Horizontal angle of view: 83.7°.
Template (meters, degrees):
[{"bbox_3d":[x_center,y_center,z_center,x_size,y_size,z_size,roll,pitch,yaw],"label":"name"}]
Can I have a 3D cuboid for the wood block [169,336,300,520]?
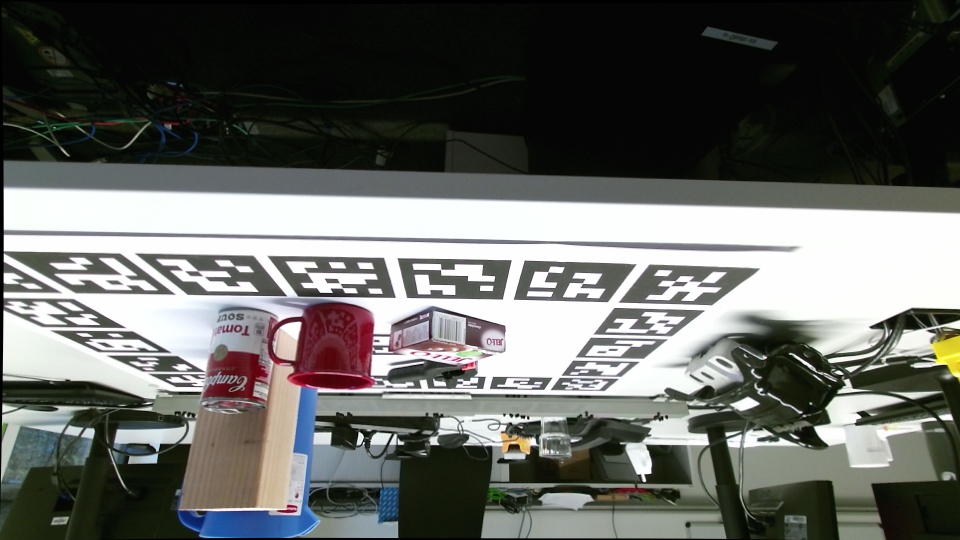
[{"bbox_3d":[-0.286,0.190,0.653,0.090,0.205,0.091,2,154,1],"label":"wood block"}]

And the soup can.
[{"bbox_3d":[-0.265,0.104,0.595,0.068,0.101,0.068,-1,152,-1],"label":"soup can"}]

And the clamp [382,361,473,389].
[{"bbox_3d":[-0.061,0.152,0.795,0.122,0.036,0.165,21,147,-25],"label":"clamp"}]

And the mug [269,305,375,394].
[{"bbox_3d":[-0.170,0.086,0.588,0.118,0.081,0.093,18,151,-36],"label":"mug"}]

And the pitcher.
[{"bbox_3d":[-0.317,0.256,0.754,0.189,0.241,0.133,-2,157,-4],"label":"pitcher"}]

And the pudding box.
[{"bbox_3d":[-0.031,0.087,0.649,0.114,0.038,0.090,19,145,-37],"label":"pudding box"}]
